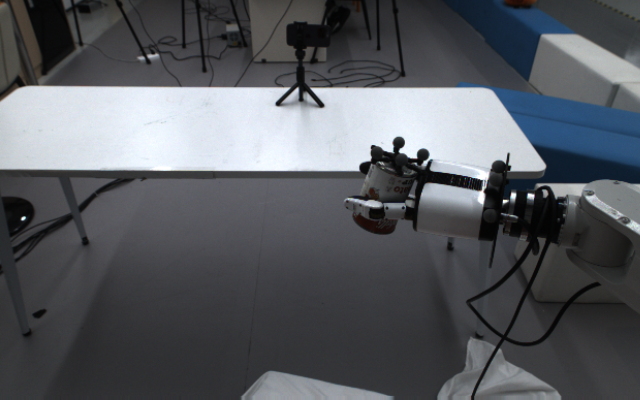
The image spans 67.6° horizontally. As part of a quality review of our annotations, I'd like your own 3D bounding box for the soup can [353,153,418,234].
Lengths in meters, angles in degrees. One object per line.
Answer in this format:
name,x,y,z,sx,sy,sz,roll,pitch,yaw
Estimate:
soup can,0.095,-0.010,0.702,0.067,0.101,0.067,13,30,-8
